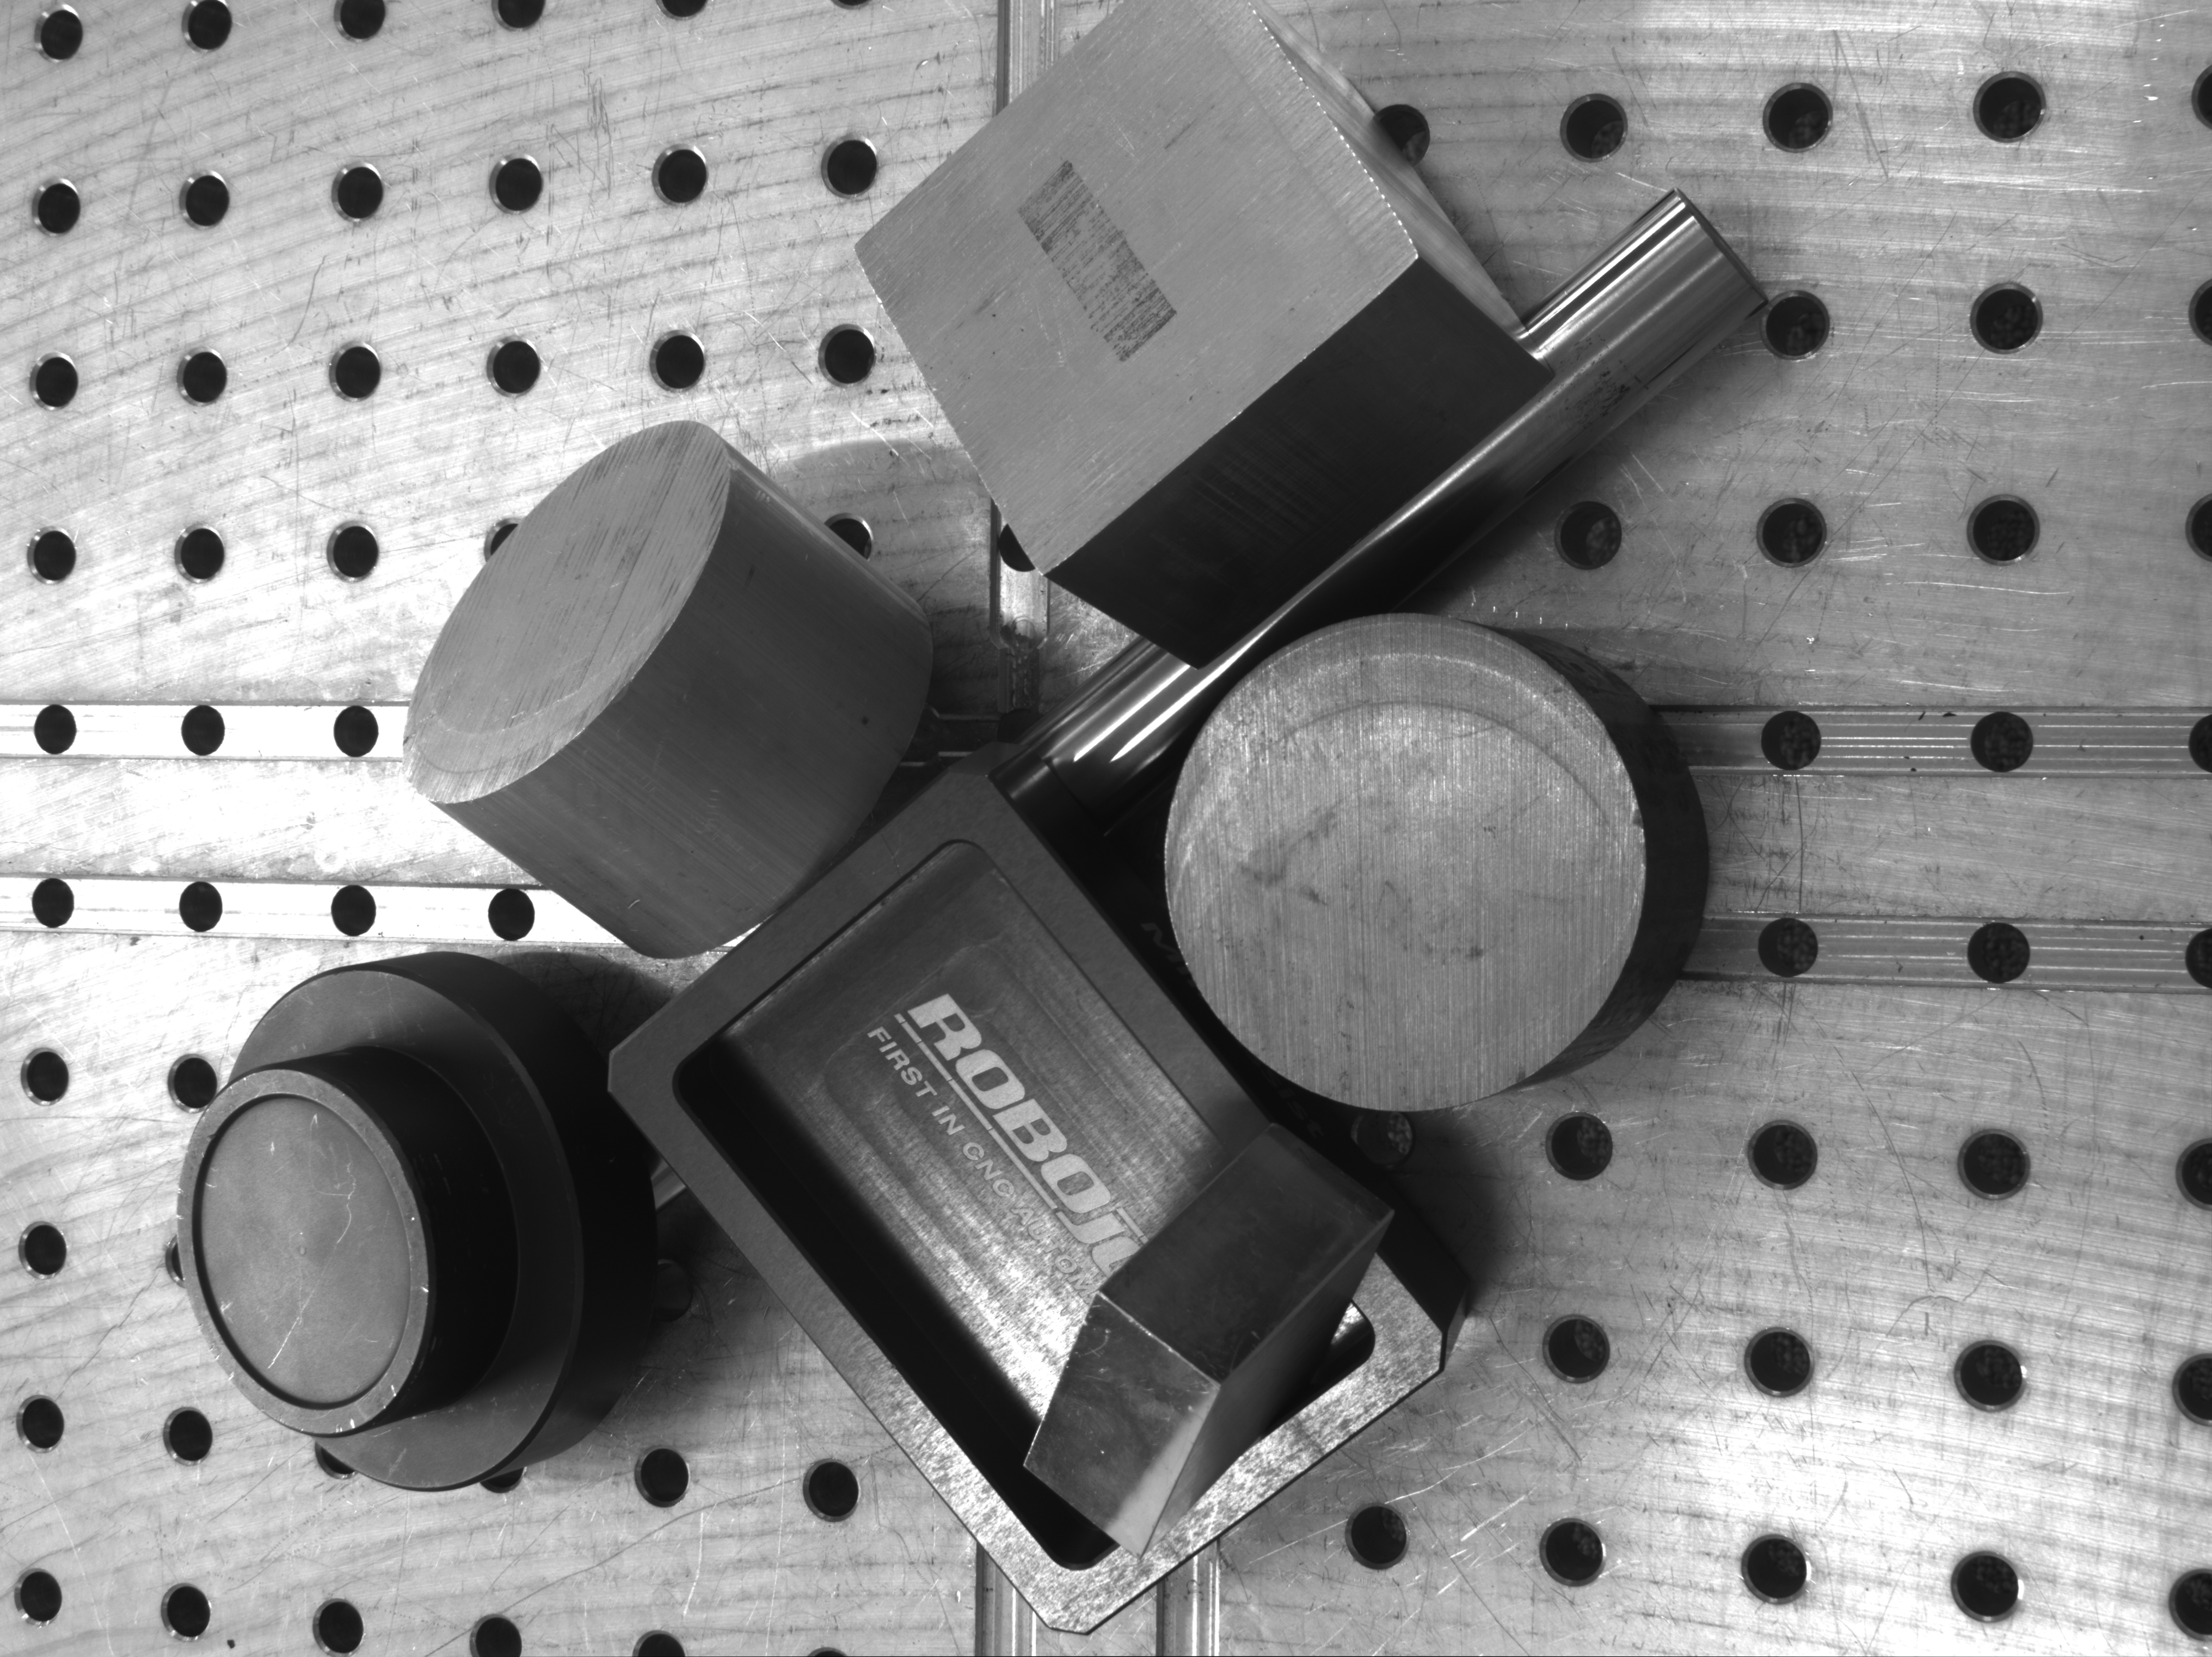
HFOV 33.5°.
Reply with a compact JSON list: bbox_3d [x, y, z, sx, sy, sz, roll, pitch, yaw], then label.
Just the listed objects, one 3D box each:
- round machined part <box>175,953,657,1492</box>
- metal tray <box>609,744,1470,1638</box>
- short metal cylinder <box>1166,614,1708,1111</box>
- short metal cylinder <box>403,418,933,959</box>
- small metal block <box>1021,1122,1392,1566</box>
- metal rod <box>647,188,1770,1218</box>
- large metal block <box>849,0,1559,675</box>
[{"bbox_3d":[-0.132,0.074,0.674,0.098,0.042,0.098,5,98,35],"label":"round machined part"},{"bbox_3d":[-0.011,0.062,0.636,0.090,0.030,0.130,-39,90,16],"label":"metal tray"},{"bbox_3d":[0.056,0.005,0.615,0.080,0.050,0.080,0,90,20],"label":"short metal cylinder"},{"bbox_3d":[-0.077,-0.024,0.642,0.080,0.050,0.080,-31,37,27],"label":"short metal cylinder"},{"bbox_3d":[0.016,0.084,0.599,0.025,0.050,0.050,36,137,15],"label":"small metal block"},{"bbox_3d":[-0.008,-0.005,0.654,0.300,0.025,0.025,-40,77,16],"label":"metal rod"},{"bbox_3d":[0.015,-0.087,0.618,0.080,0.050,0.080,-39,58,16],"label":"large metal block"}]
